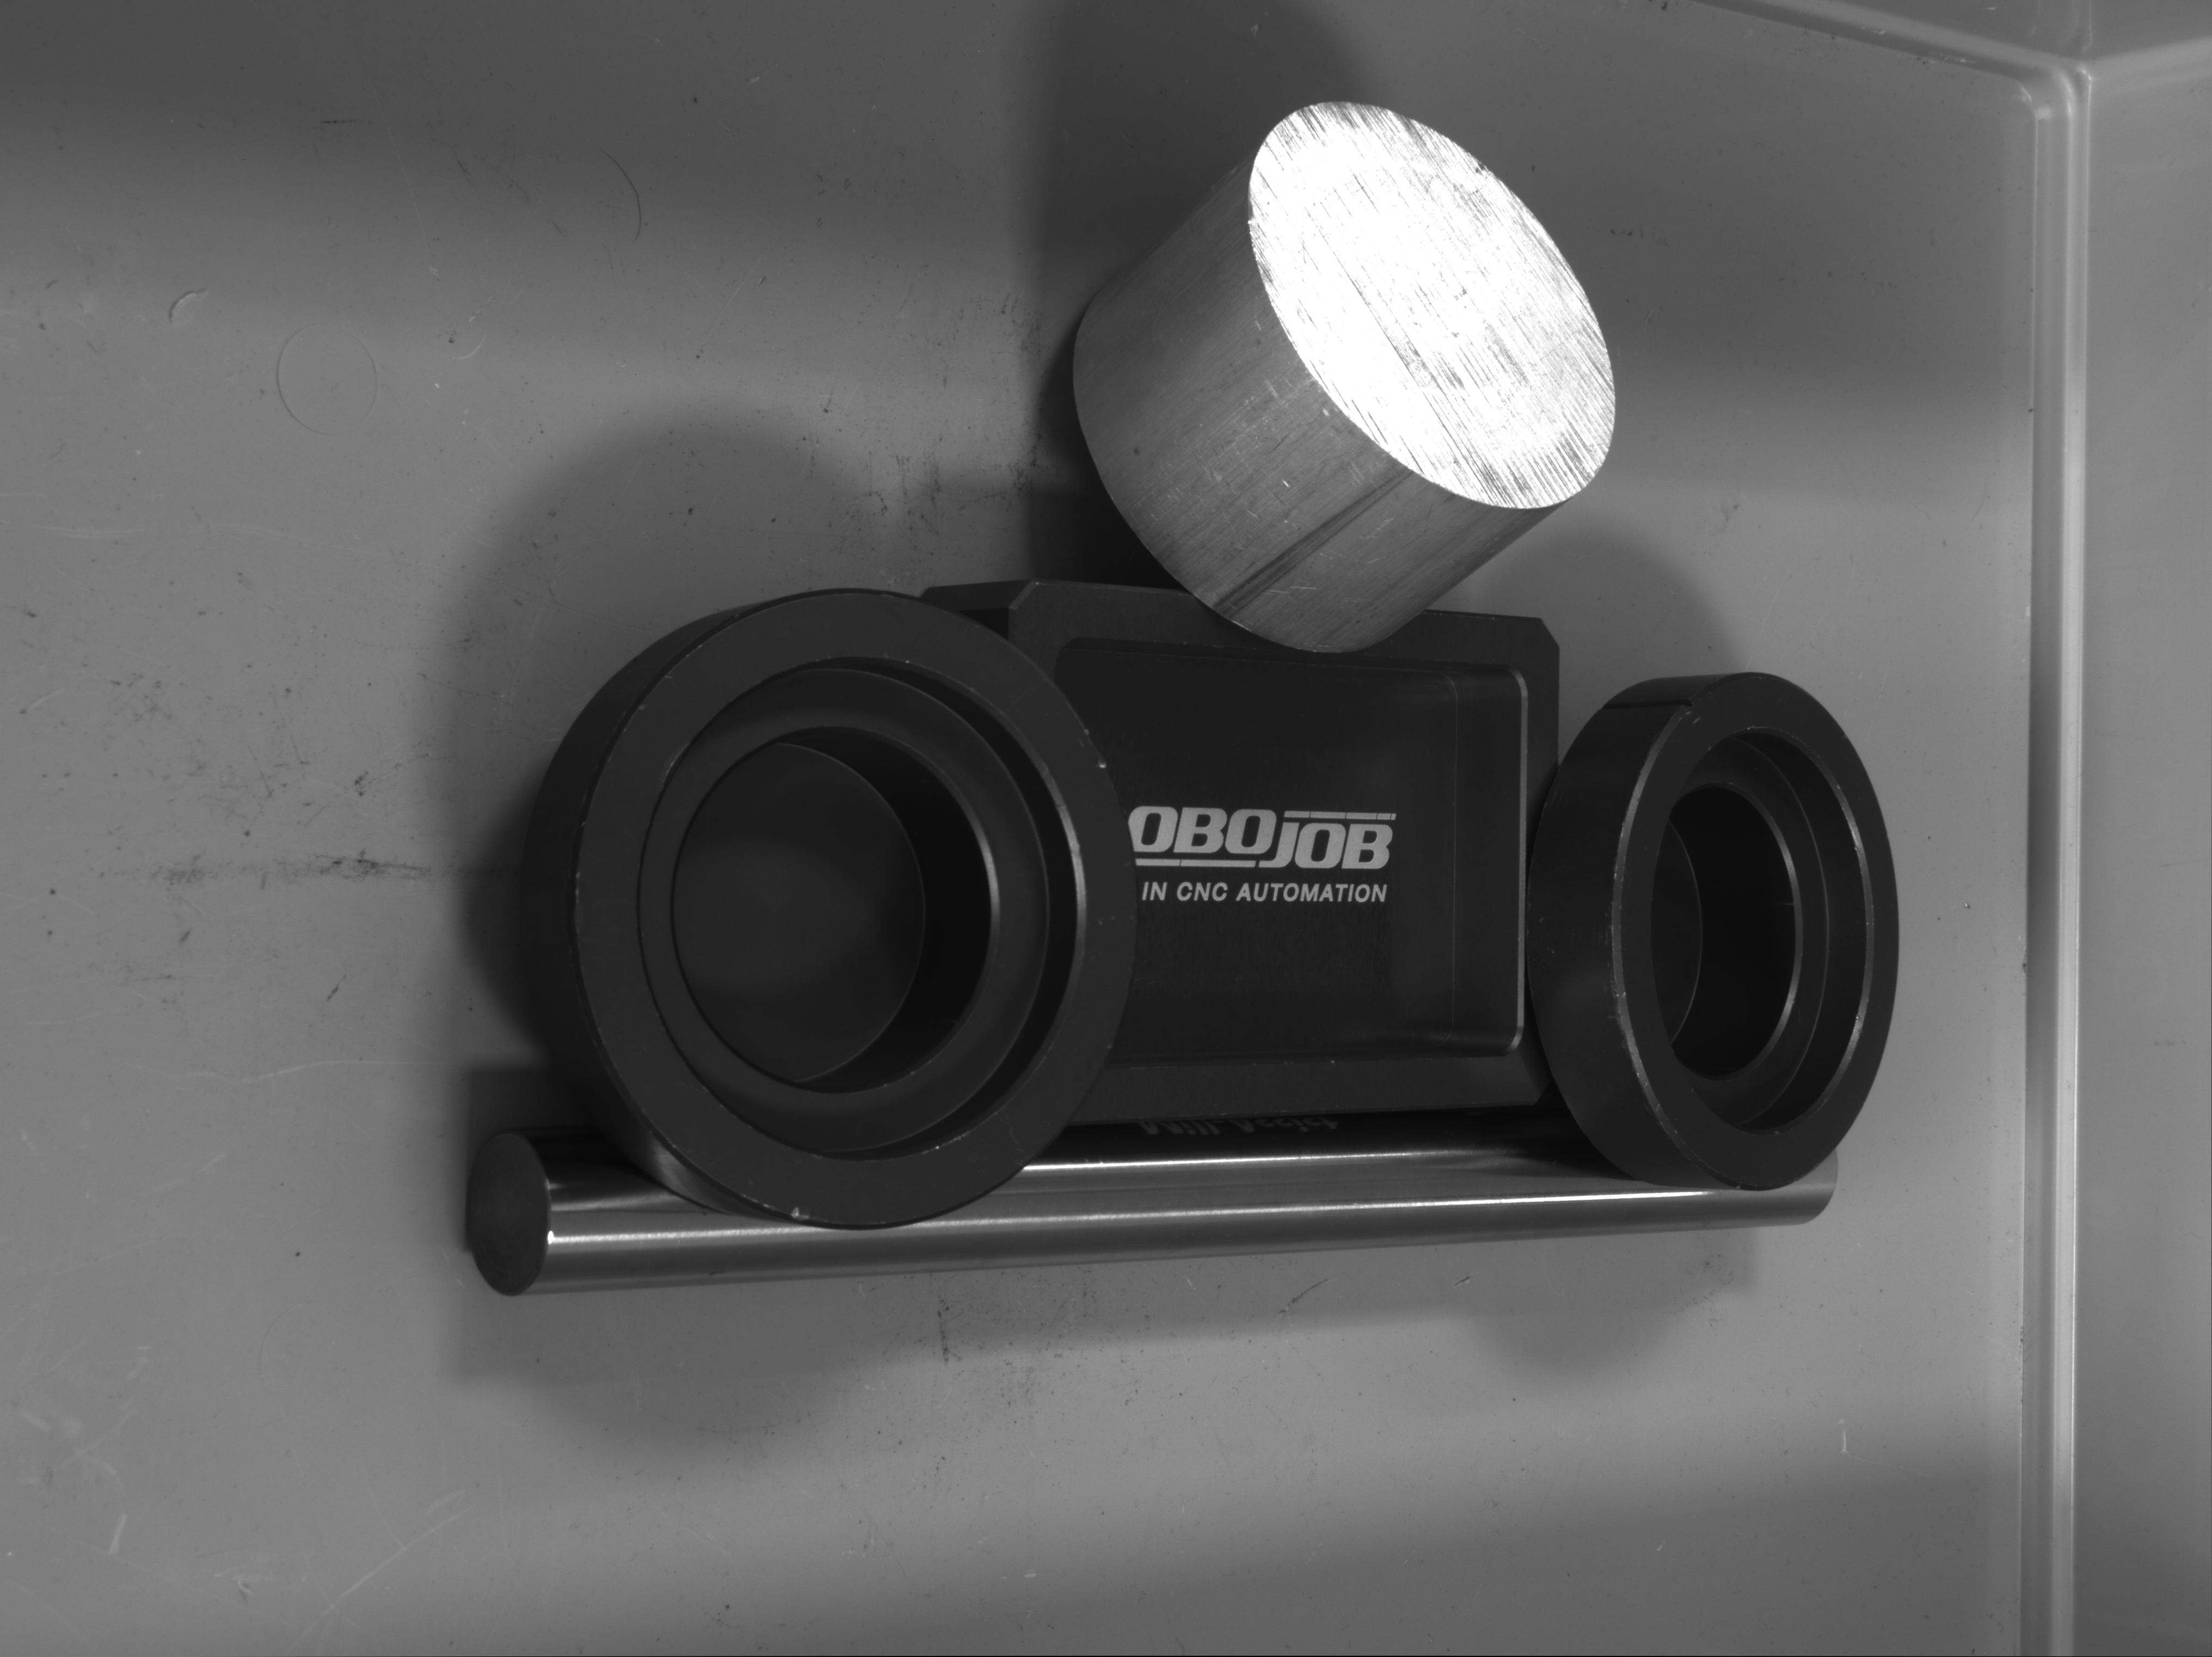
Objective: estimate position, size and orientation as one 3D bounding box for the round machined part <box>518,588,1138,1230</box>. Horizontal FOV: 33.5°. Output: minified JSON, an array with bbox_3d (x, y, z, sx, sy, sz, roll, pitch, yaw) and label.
[{"bbox_3d":[-0.047,0.013,0.578,0.098,0.042,0.098,2,86,-31],"label":"round machined part"}]

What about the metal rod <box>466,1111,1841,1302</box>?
[{"bbox_3d":[0.025,0.064,0.655,0.301,0.025,0.025,2,88,-40],"label":"metal rod"}]

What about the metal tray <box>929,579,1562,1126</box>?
[{"bbox_3d":[0.025,0.005,0.651,0.130,0.030,0.090,1,90,-40],"label":"metal tray"}]

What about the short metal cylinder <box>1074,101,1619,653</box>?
[{"bbox_3d":[0.042,-0.077,0.634,0.080,0.050,0.080,21,52,-29],"label":"short metal cylinder"}]

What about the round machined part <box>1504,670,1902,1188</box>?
[{"bbox_3d":[0.110,0.020,0.708,0.098,0.042,0.098,3,86,-47],"label":"round machined part"}]
